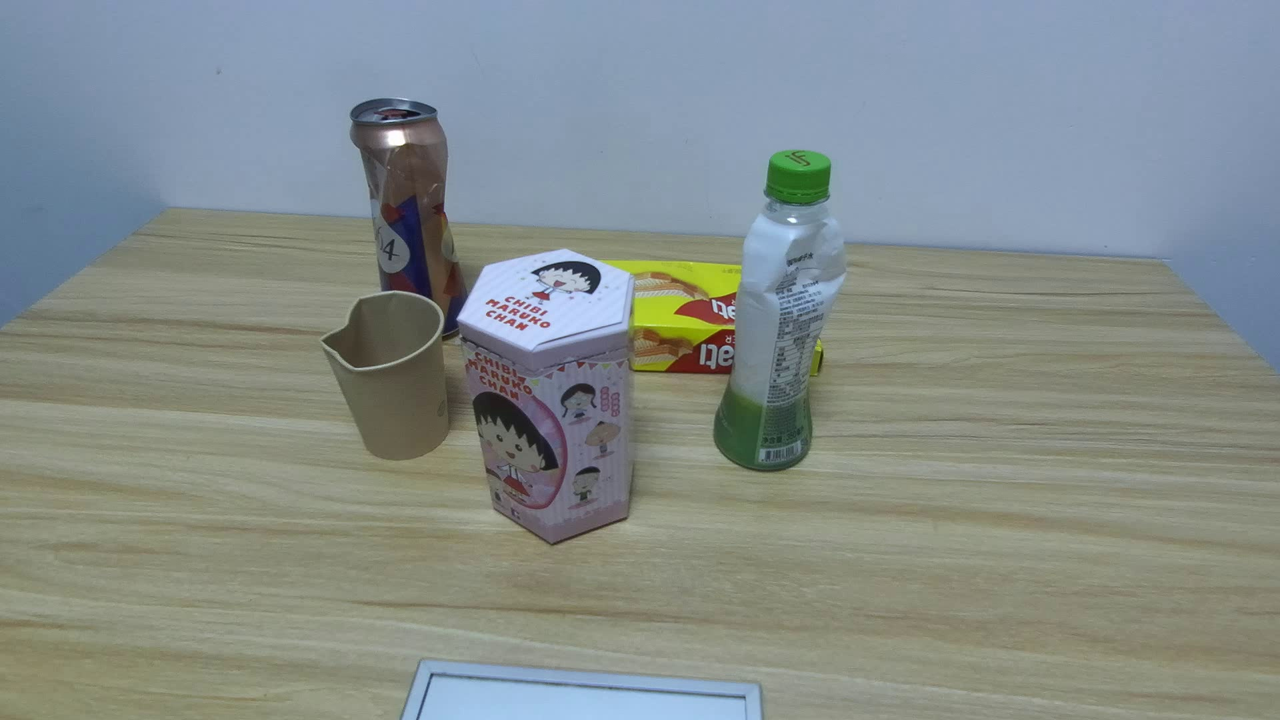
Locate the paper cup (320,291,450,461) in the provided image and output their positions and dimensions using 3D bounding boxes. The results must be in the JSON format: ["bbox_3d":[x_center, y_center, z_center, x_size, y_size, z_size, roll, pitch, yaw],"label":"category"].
[{"bbox_3d":[-0.149,0.012,0.436,0.073,0.081,0.069,30,46,33],"label":"paper cup"}]

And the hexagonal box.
[{"bbox_3d":[-0.044,0.022,0.380,0.091,0.136,0.084,23,43,26],"label":"hexagonal box"}]

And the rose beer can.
[{"bbox_3d":[-0.160,-0.095,0.506,0.065,0.167,0.075,-10,33,-17],"label":"rose beer can"}]

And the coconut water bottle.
[{"bbox_3d":[0.079,-0.024,0.399,0.067,0.187,0.067,0,37,0],"label":"coconut water bottle"}]
